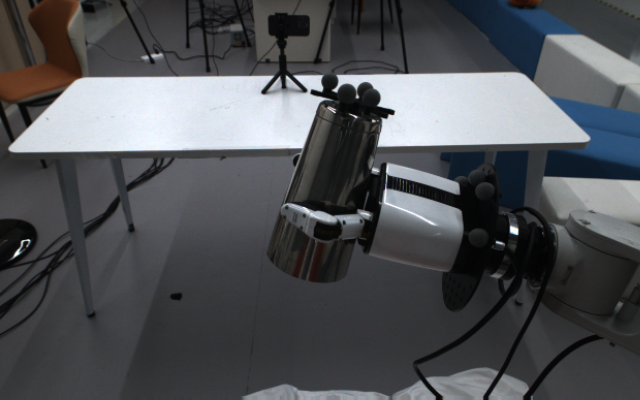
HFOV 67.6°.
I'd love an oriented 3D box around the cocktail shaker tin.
[{"bbox_3d":[0.010,-0.010,0.506,0.093,0.170,0.093,15,20,-5],"label":"cocktail shaker tin"}]
